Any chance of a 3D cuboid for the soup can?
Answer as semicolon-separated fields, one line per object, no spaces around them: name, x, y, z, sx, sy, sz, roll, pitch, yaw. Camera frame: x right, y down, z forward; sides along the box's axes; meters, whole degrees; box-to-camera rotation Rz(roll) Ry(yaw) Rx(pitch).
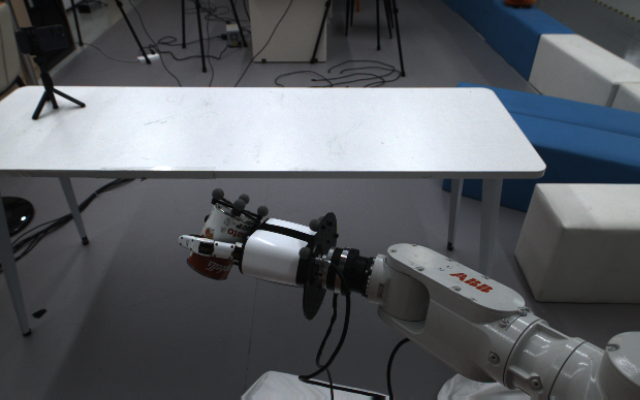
soup can;-0.150;0.063;0.735;0.067;0.101;0.067;27;6;-3
